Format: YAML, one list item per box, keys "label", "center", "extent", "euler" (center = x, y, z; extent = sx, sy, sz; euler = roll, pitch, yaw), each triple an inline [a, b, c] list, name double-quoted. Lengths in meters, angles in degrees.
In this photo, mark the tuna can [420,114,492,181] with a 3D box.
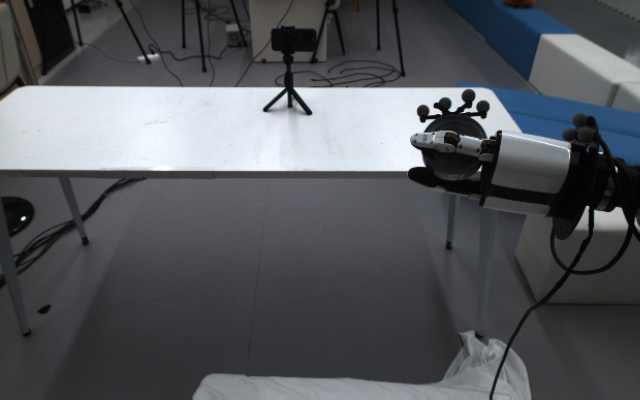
- label: "tuna can"
  center: [0.180, -0.071, 0.655]
  extent: [0.085, 0.034, 0.085]
  euler: [-4, 73, 14]
